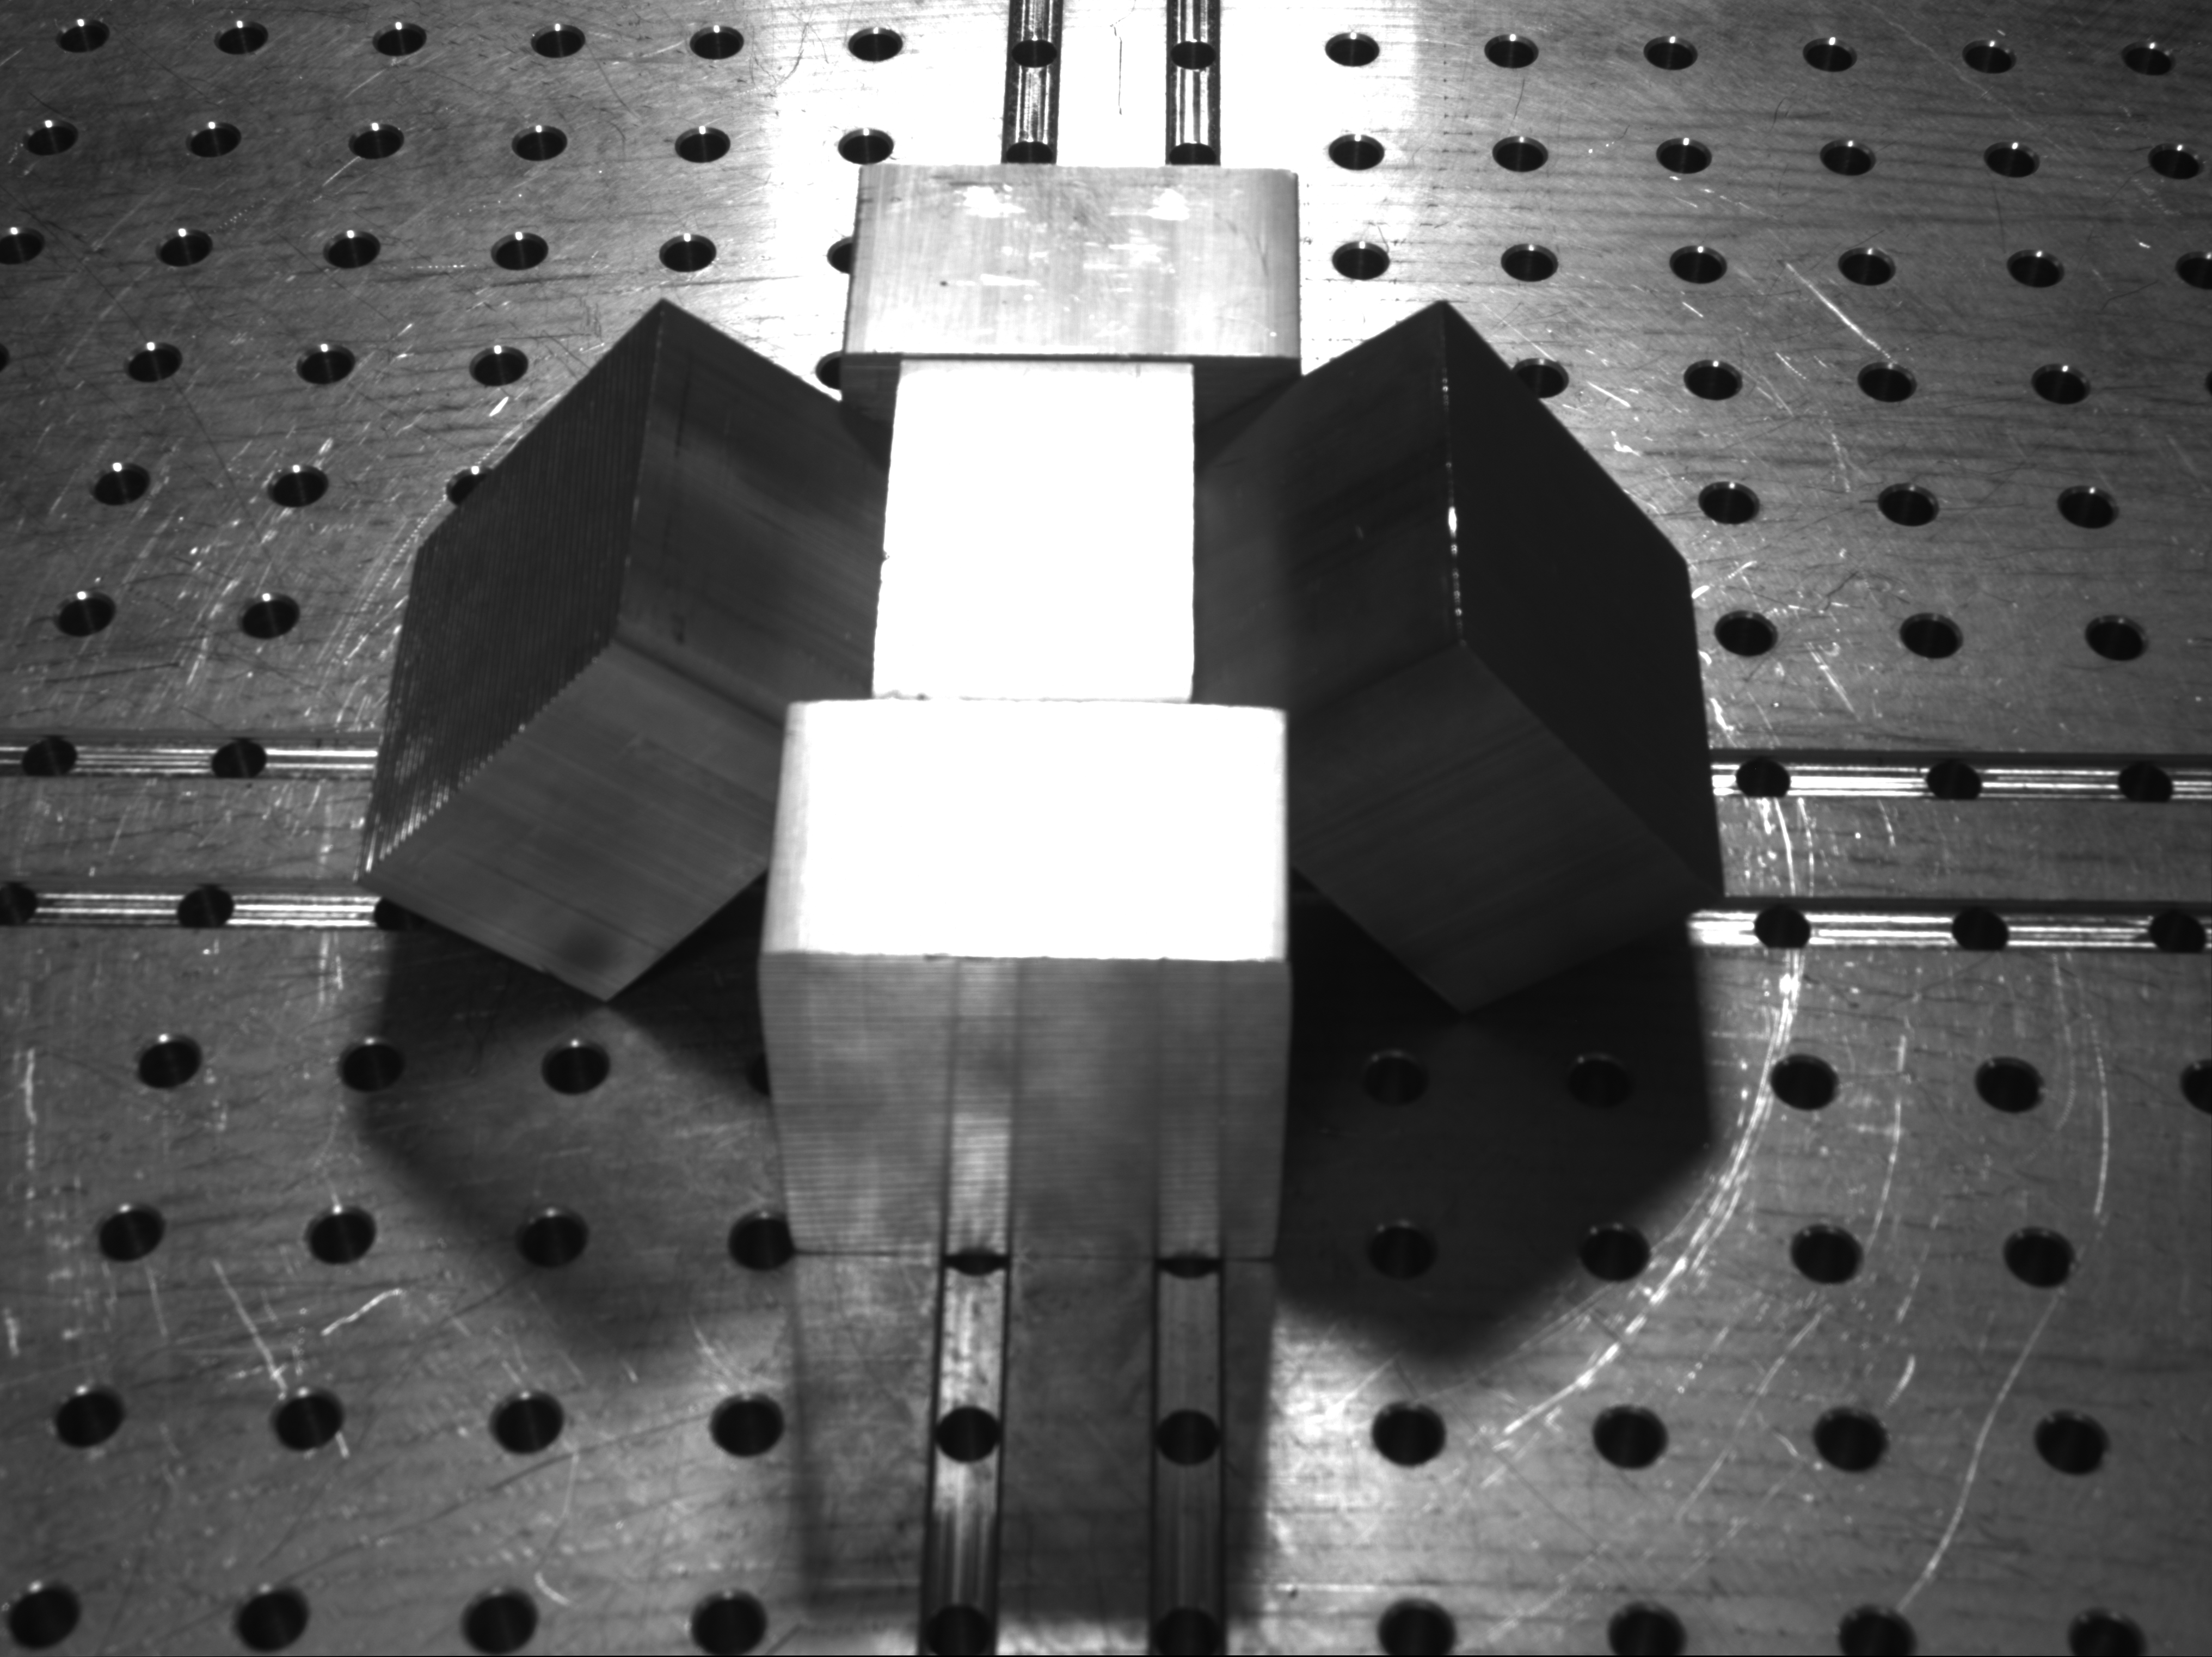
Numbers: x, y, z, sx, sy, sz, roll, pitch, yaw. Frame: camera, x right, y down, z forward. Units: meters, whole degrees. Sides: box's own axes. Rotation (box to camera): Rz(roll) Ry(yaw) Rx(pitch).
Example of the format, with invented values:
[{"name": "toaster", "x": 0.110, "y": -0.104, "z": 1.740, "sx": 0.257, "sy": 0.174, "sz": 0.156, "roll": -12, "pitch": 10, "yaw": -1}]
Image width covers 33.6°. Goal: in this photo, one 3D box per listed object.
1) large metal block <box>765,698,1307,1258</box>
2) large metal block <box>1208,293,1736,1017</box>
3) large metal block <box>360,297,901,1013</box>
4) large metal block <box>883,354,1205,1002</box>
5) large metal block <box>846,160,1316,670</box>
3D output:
[{"name": "large metal block", "x": -0.010, "y": 0.025, "z": 0.587, "sx": 0.080, "sy": 0.080, "sz": 0.050, "roll": 1, "pitch": 50, "yaw": 1}, {"name": "large metal block", "x": 0.061, "y": -0.029, "z": 0.622, "sx": 0.050, "sy": 0.080, "sz": 0.080, "roll": -26, "pitch": 42, "yaw": 28}, {"name": "large metal block", "x": -0.079, "y": -0.029, "z": 0.625, "sx": 0.050, "sy": 0.080, "sz": 0.080, "roll": 28, "pitch": 43, "yaw": -28}, {"name": "large metal block", "x": -0.009, "y": -0.024, "z": 0.628, "sx": 0.050, "sy": 0.080, "sz": 0.080, "roll": 1, "pitch": 50, "yaw": 1}, {"name": "large metal block", "x": -0.004, "y": -0.074, "z": 0.671, "sx": 0.080, "sy": 0.080, "sz": 0.050, "roll": 1, "pitch": 50, "yaw": 1}]
